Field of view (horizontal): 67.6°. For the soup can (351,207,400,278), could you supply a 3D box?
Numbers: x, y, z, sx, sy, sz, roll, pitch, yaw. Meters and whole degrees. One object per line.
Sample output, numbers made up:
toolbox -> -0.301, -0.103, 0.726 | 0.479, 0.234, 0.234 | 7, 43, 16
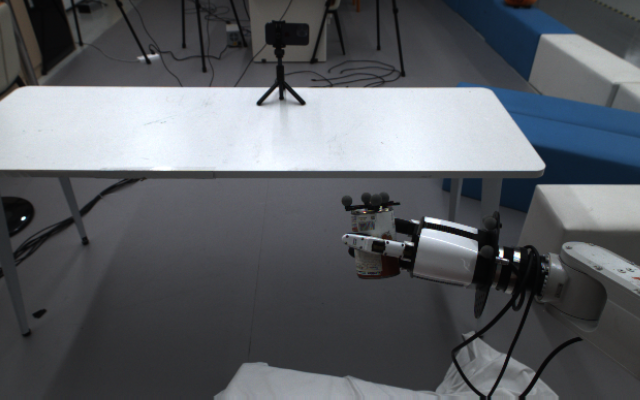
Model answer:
soup can -> 0.086, 0.064, 0.738 | 0.067, 0.101, 0.067 | -6, 3, 0
